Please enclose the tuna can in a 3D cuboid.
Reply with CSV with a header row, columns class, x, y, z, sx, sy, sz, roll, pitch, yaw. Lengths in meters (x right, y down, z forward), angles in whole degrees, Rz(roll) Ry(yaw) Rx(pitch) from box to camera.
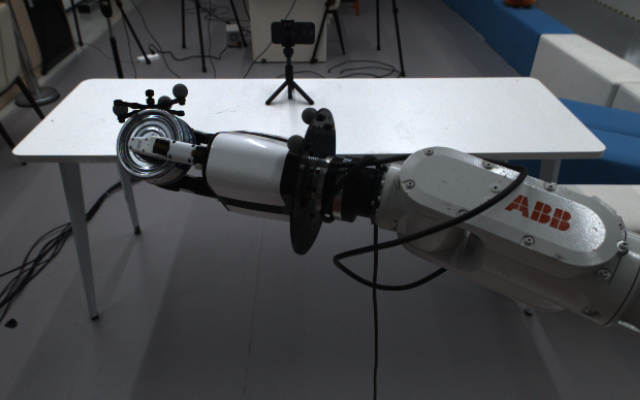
class,x,y,z,sx,sy,sz,roll,pitch,yaw
tuna can,-0.187,-0.056,0.559,0.085,0.085,0.034,12,-6,14
